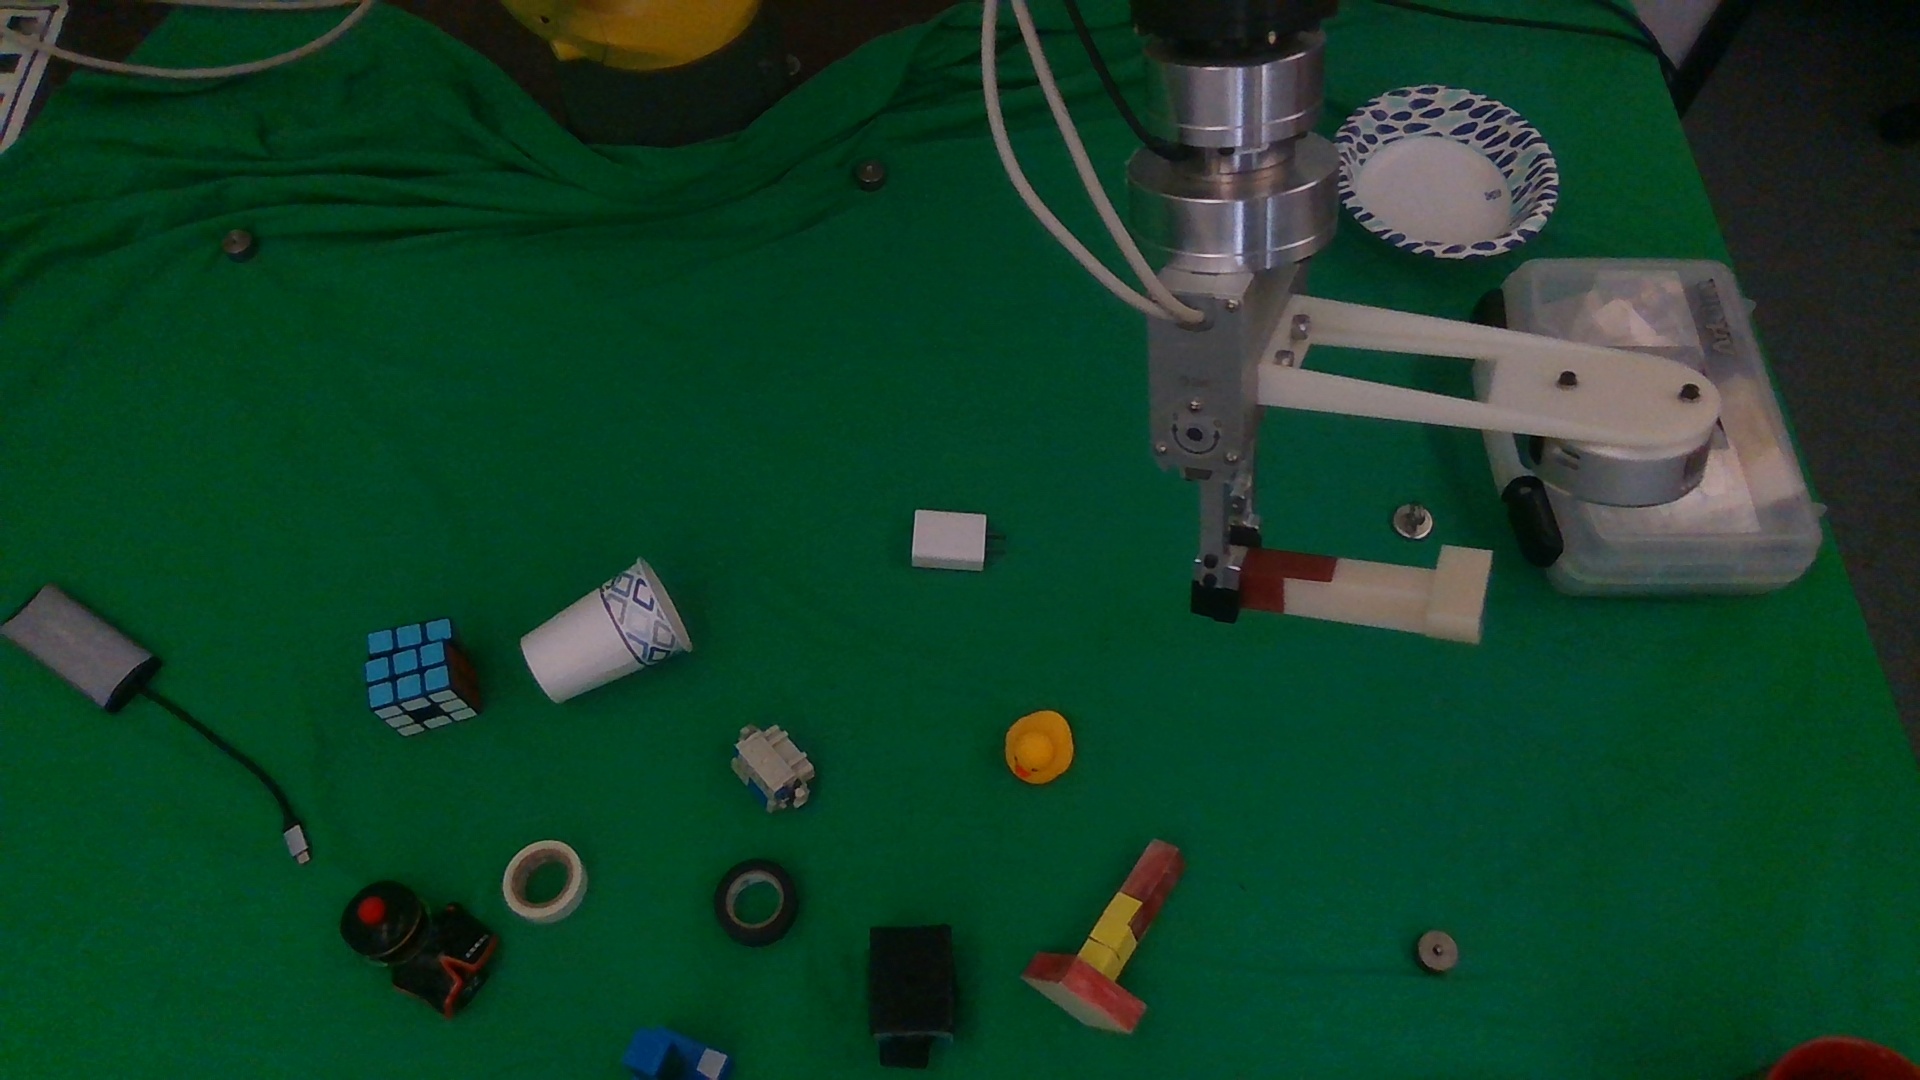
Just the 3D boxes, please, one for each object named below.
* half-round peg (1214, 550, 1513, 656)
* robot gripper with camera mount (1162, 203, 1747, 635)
[{"bbox_3d":[0.165,0.023,0.583,0.122,0.031,0.054,7,37,23],"label":"half-round peg"},{"bbox_3d":[0.187,-0.027,0.540,0.194,0.158,0.119,9,38,19],"label":"robot gripper with camera mount"}]
